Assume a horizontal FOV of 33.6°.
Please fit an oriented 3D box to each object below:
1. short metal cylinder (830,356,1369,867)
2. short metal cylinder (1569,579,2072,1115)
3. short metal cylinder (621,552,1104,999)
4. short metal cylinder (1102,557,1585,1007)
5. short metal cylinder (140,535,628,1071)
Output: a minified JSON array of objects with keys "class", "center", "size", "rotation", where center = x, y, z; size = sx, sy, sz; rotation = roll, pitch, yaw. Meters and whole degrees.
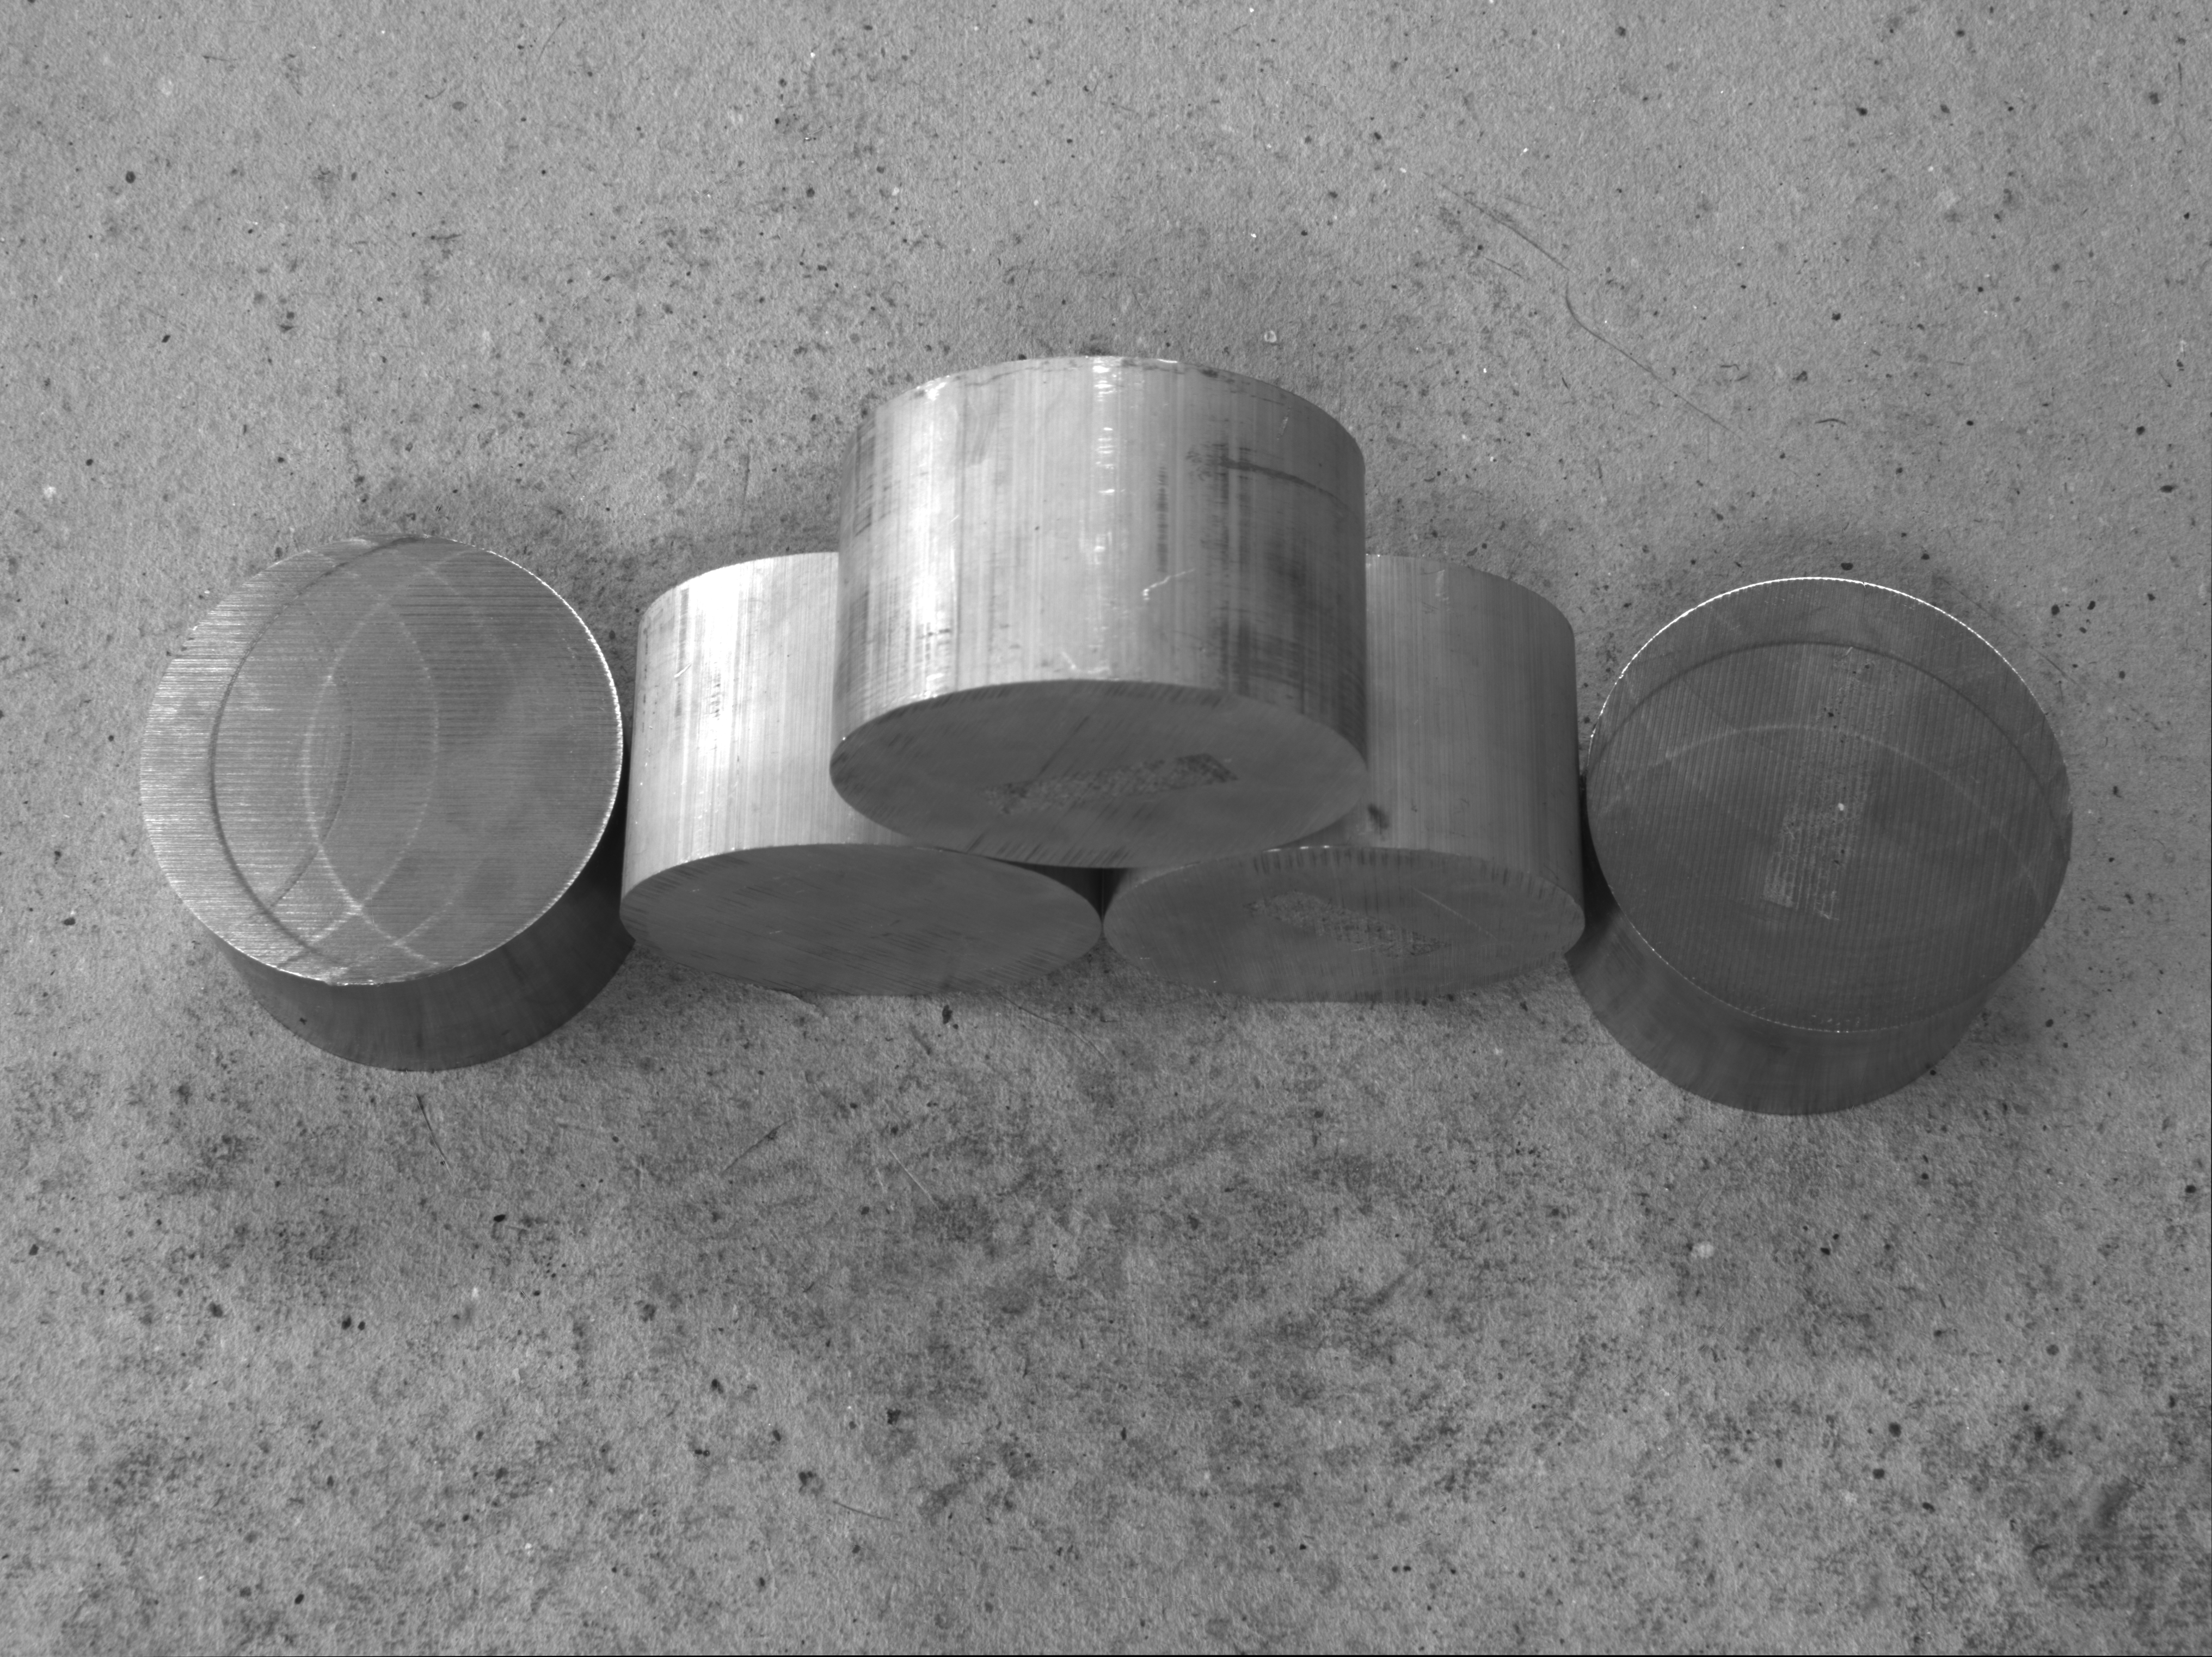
[{"class":"short metal cylinder","center":[-0.001,-0.031,0.553],"size":[0.080,0.080,0.050],"rotation":[1,71,0]},{"class":"short metal cylinder","center":[0.120,0.004,0.630],"size":[0.080,0.050,0.080],"rotation":[0,70,0]},{"class":"short metal cylinder","center":[-0.040,-0.007,0.618],"size":[0.080,0.080,0.050],"rotation":[0,70,0]},{"class":"short metal cylinder","center":[0.040,-0.006,0.618],"size":[0.080,0.080,0.050],"rotation":[0,69,0]},{"class":"short metal cylinder","center":[-0.120,-0.004,0.633],"size":[0.080,0.050,0.080],"rotation":[0,70,0]}]
